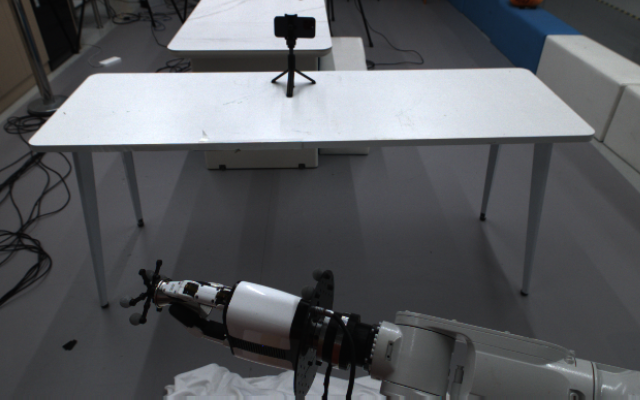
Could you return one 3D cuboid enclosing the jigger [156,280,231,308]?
[{"bbox_3d":[-0.176,0.127,0.650,0.071,0.043,0.043,8,35,14],"label":"jigger"}]
